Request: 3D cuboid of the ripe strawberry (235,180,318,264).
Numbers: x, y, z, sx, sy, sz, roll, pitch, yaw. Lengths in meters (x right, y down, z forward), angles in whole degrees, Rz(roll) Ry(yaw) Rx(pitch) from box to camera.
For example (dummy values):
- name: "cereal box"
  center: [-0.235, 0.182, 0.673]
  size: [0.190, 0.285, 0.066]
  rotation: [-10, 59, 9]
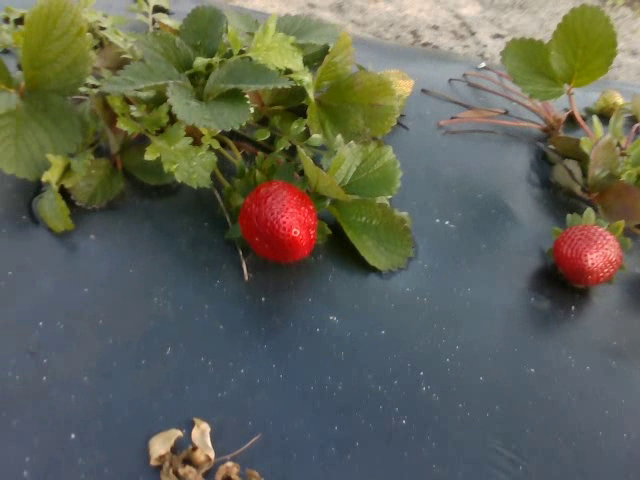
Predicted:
- name: "ripe strawberry"
  center: [-0.019, -0.007, 0.276]
  size: [0.050, 0.046, 0.050]
  rotation: [41, -3, -5]

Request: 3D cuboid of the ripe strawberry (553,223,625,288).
- name: "ripe strawberry"
  center: [0.133, 0.010, 0.314]
  size: [0.041, 0.045, 0.052]
  rotation: [-29, -3, 25]
